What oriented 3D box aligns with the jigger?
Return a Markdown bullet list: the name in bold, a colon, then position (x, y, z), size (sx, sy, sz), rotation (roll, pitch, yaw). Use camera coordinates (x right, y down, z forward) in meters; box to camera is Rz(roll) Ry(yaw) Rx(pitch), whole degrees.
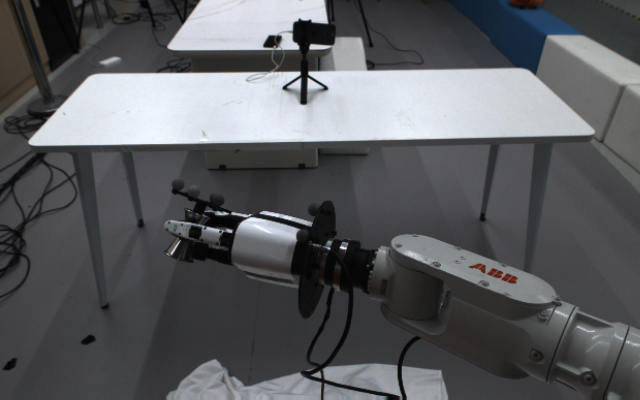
- **jigger**: position (-0.187, 0.048, 0.679), size (0.043, 0.071, 0.043), rotation (24, -2, 1)
